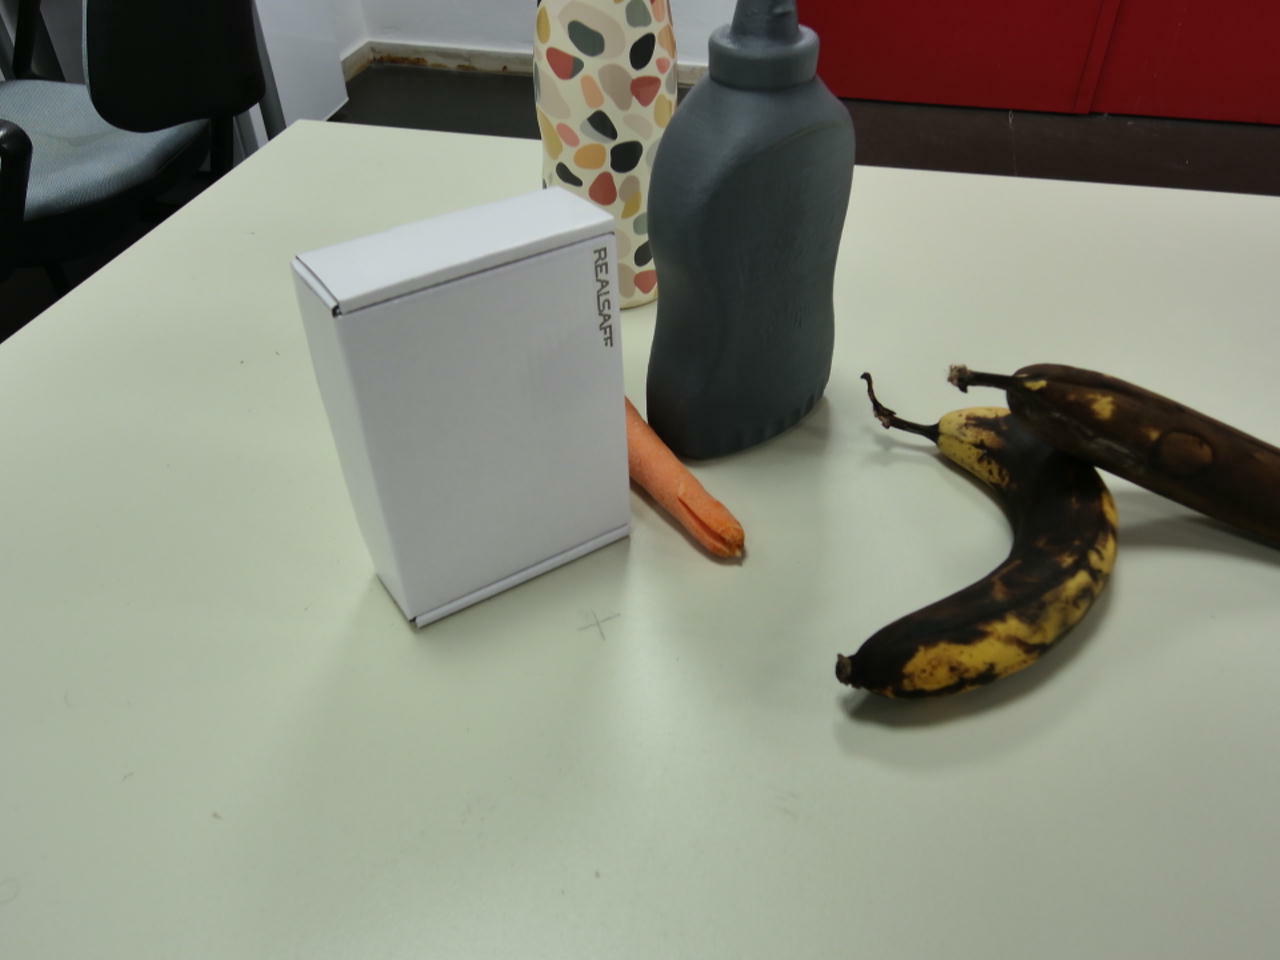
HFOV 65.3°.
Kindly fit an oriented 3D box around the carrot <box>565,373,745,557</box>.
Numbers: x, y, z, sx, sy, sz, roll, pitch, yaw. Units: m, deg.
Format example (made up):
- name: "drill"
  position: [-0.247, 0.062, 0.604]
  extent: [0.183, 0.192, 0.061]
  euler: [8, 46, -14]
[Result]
- name: "carrot"
  position: [0.004, -0.010, 0.466]
  extent: [0.030, 0.032, 0.136]
  euler: [-21, 42, -24]
